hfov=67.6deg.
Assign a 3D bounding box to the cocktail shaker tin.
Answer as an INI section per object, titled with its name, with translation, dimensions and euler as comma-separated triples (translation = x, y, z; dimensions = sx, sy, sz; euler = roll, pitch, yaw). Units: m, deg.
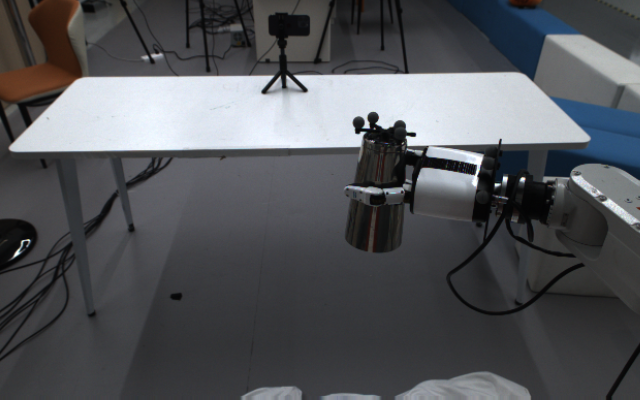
[cocktail shaker tin]
translation = 0.091, -0.016, 0.745
dimensions = 0.093, 0.170, 0.093
euler = 3, 26, -1
